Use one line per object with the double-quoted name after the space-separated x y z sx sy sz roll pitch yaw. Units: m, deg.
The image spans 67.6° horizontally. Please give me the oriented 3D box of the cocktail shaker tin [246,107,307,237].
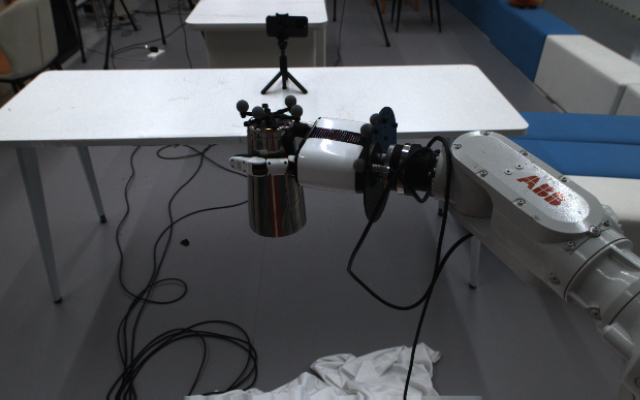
-0.066 -0.043 0.730 0.093 0.170 0.093 -1 33 1 "cocktail shaker tin"
